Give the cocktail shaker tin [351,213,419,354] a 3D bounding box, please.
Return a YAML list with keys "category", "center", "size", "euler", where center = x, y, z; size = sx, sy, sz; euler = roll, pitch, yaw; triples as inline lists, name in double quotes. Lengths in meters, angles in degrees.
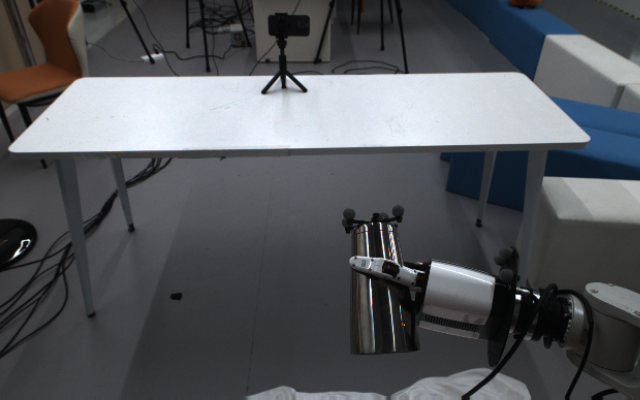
- category: "cocktail shaker tin"
  center: [0.081, 0.122, 0.663]
  size: [0.093, 0.093, 0.170]
  euler: [-2, 70, -5]
